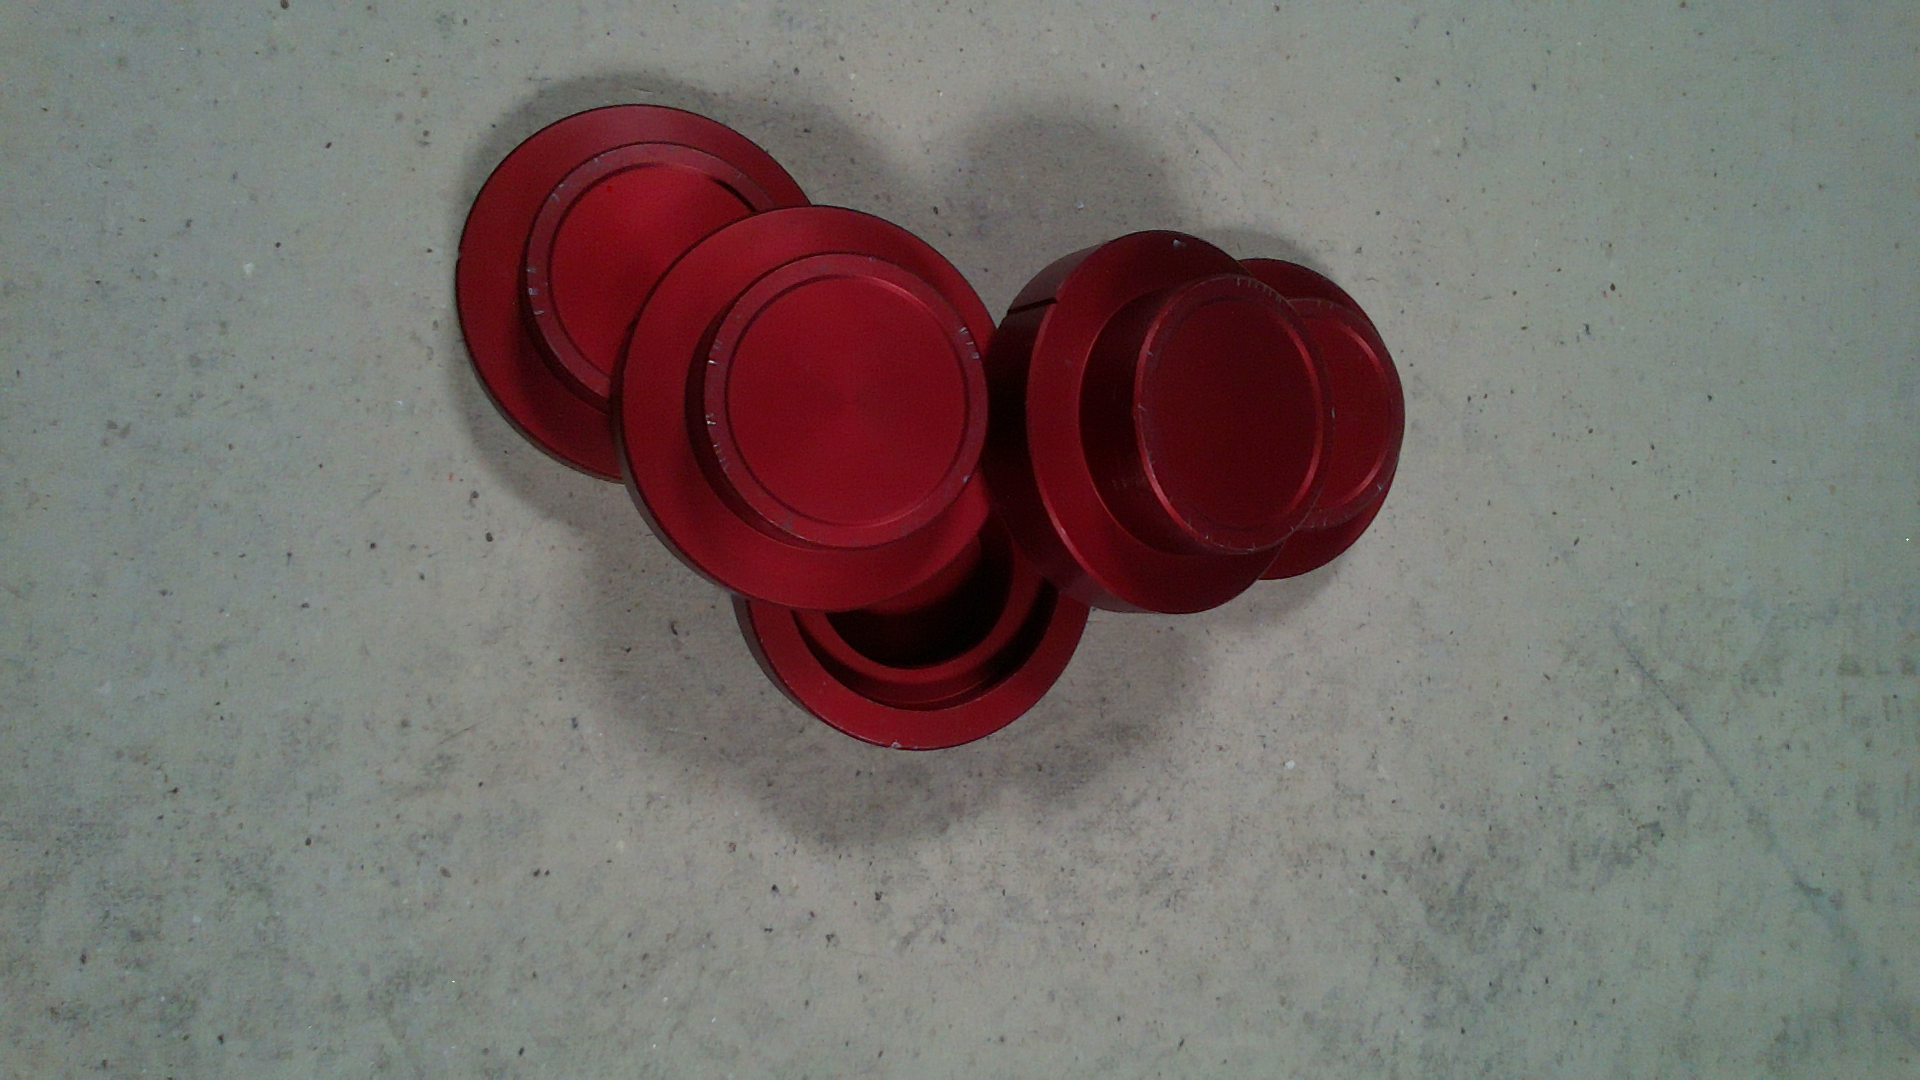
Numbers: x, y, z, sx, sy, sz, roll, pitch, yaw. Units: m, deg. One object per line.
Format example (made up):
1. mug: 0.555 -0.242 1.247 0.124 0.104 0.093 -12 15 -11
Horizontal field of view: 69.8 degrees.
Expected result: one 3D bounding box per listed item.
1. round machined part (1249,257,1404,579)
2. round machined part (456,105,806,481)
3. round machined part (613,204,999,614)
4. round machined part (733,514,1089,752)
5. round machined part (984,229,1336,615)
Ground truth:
1. round machined part: 0.094 -0.037 0.418 0.098 0.042 0.098 0 90 -20
2. round machined part: -0.078 -0.064 0.355 0.098 0.042 0.098 0 90 -20
3. round machined part: -0.031 -0.031 0.328 0.098 0.042 0.098 0 90 -20
4. round machined part: -0.016 0.006 0.379 0.098 0.042 0.098 0 90 -20
5. round machined part: 0.057 -0.030 0.350 0.098 0.042 0.098 1 88 -33
